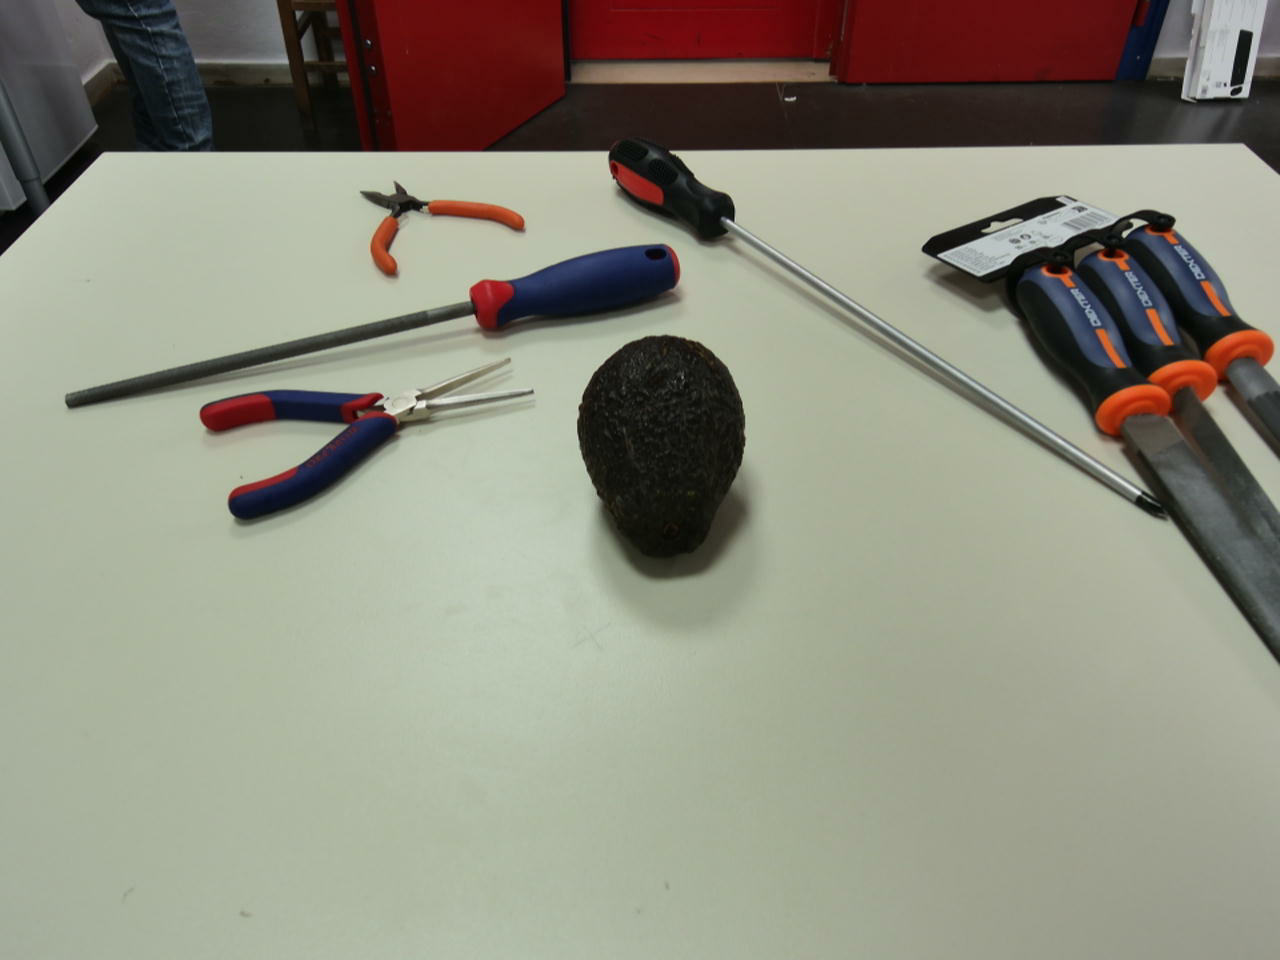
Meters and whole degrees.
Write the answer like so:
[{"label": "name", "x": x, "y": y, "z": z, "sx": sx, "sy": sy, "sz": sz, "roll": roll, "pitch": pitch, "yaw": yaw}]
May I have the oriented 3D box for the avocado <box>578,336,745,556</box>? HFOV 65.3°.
[{"label": "avocado", "x": 0.007, "y": -0.019, "z": 0.410, "sx": 0.070, "sy": 0.069, "sz": 0.090, "roll": 16, "pitch": 41, "yaw": 19}]
